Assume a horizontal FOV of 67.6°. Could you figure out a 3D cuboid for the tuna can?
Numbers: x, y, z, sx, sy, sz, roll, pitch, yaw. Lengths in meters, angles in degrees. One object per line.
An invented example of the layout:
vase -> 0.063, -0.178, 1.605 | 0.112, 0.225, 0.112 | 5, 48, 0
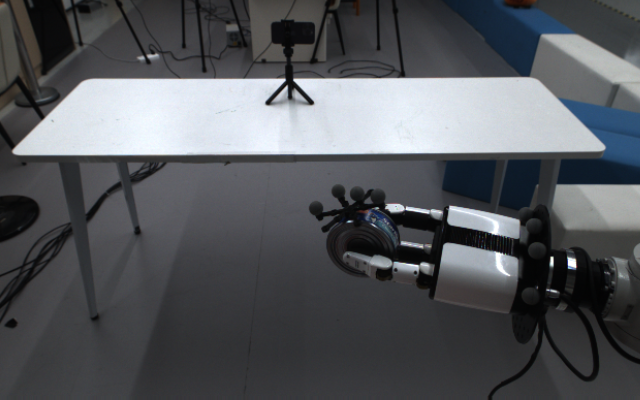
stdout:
tuna can -> 0.054, 0.051, 0.588 | 0.085, 0.085, 0.034 | 11, 34, 13
